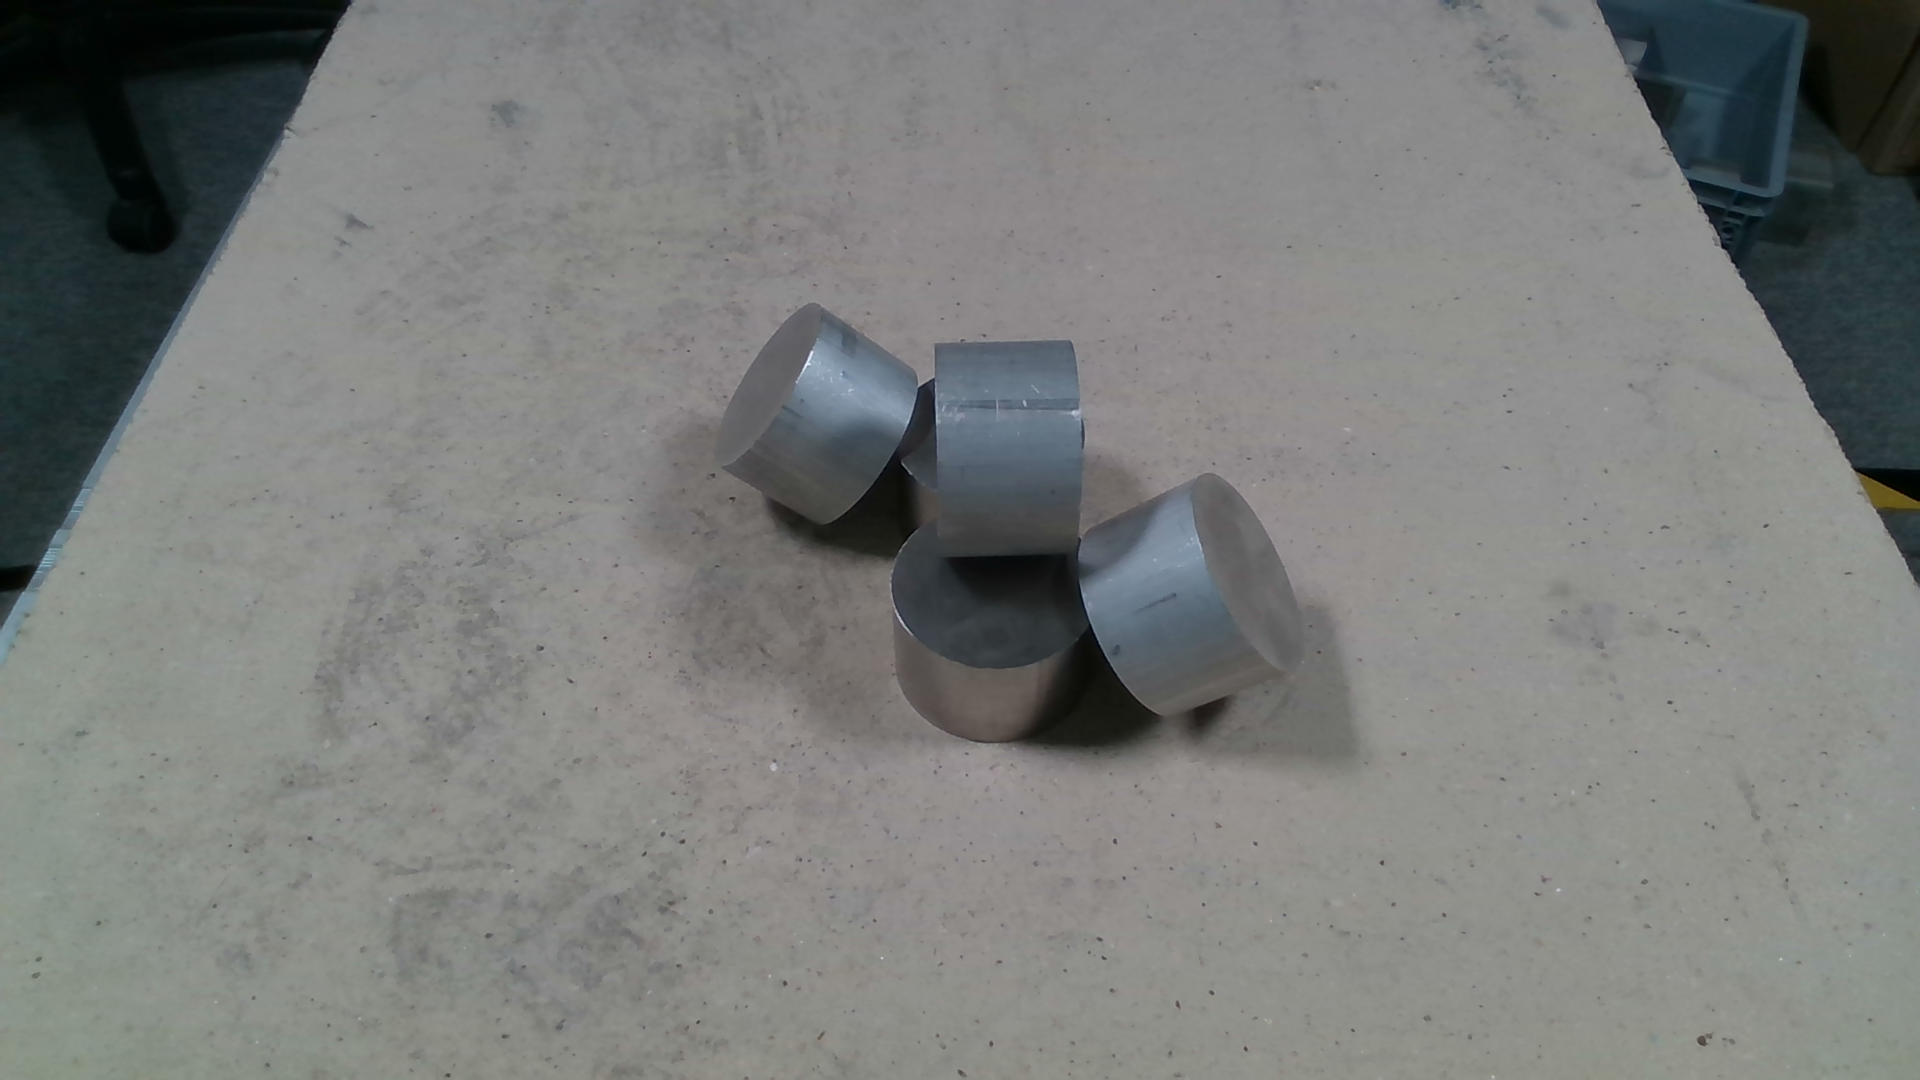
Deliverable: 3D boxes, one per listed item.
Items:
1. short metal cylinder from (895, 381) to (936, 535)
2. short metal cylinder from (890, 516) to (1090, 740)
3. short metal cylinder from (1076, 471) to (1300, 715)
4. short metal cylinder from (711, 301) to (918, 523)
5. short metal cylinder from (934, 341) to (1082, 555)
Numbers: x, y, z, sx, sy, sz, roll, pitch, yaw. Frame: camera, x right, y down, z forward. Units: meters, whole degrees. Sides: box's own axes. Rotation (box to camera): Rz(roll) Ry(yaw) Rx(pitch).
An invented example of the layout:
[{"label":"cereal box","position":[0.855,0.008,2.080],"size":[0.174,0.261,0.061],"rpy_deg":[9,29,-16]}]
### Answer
[{"label":"short metal cylinder","position":[0.012,-0.030,0.595],"size":[0.080,0.050,0.080],"rpy_deg":[0,50,0]},{"label":"short metal cylinder","position":[0.013,0.032,0.544],"size":[0.080,0.050,0.080],"rpy_deg":[0,50,0]},{"label":"short metal cylinder","position":[0.088,0.021,0.525],"size":[0.050,0.080,0.080],"rpy_deg":[-27,43,29]},{"label":"short metal cylinder","position":[-0.063,-0.054,0.588],"size":[0.050,0.080,0.080],"rpy_deg":[32,46,-25]},{"label":"short metal cylinder","position":[0.016,-0.034,0.514],"size":[0.050,0.080,0.080],"rpy_deg":[-1,50,-1]}]
